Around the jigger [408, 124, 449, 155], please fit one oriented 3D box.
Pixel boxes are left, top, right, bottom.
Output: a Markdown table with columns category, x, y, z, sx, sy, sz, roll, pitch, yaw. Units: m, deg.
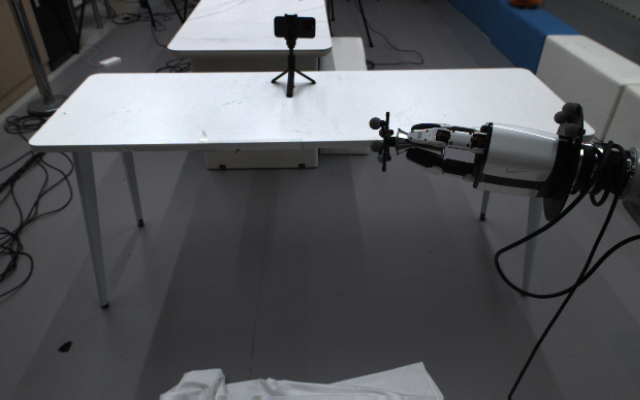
| category | x | y | z | sx | sy | sz | roll | pitch | yaw |
| --- | --- | --- | --- | --- | --- | --- | --- | --- | --- |
| jigger | 0.154 | -0.089 | 0.707 | 0.071 | 0.043 | 0.043 | 3 | 34 | 17 |
